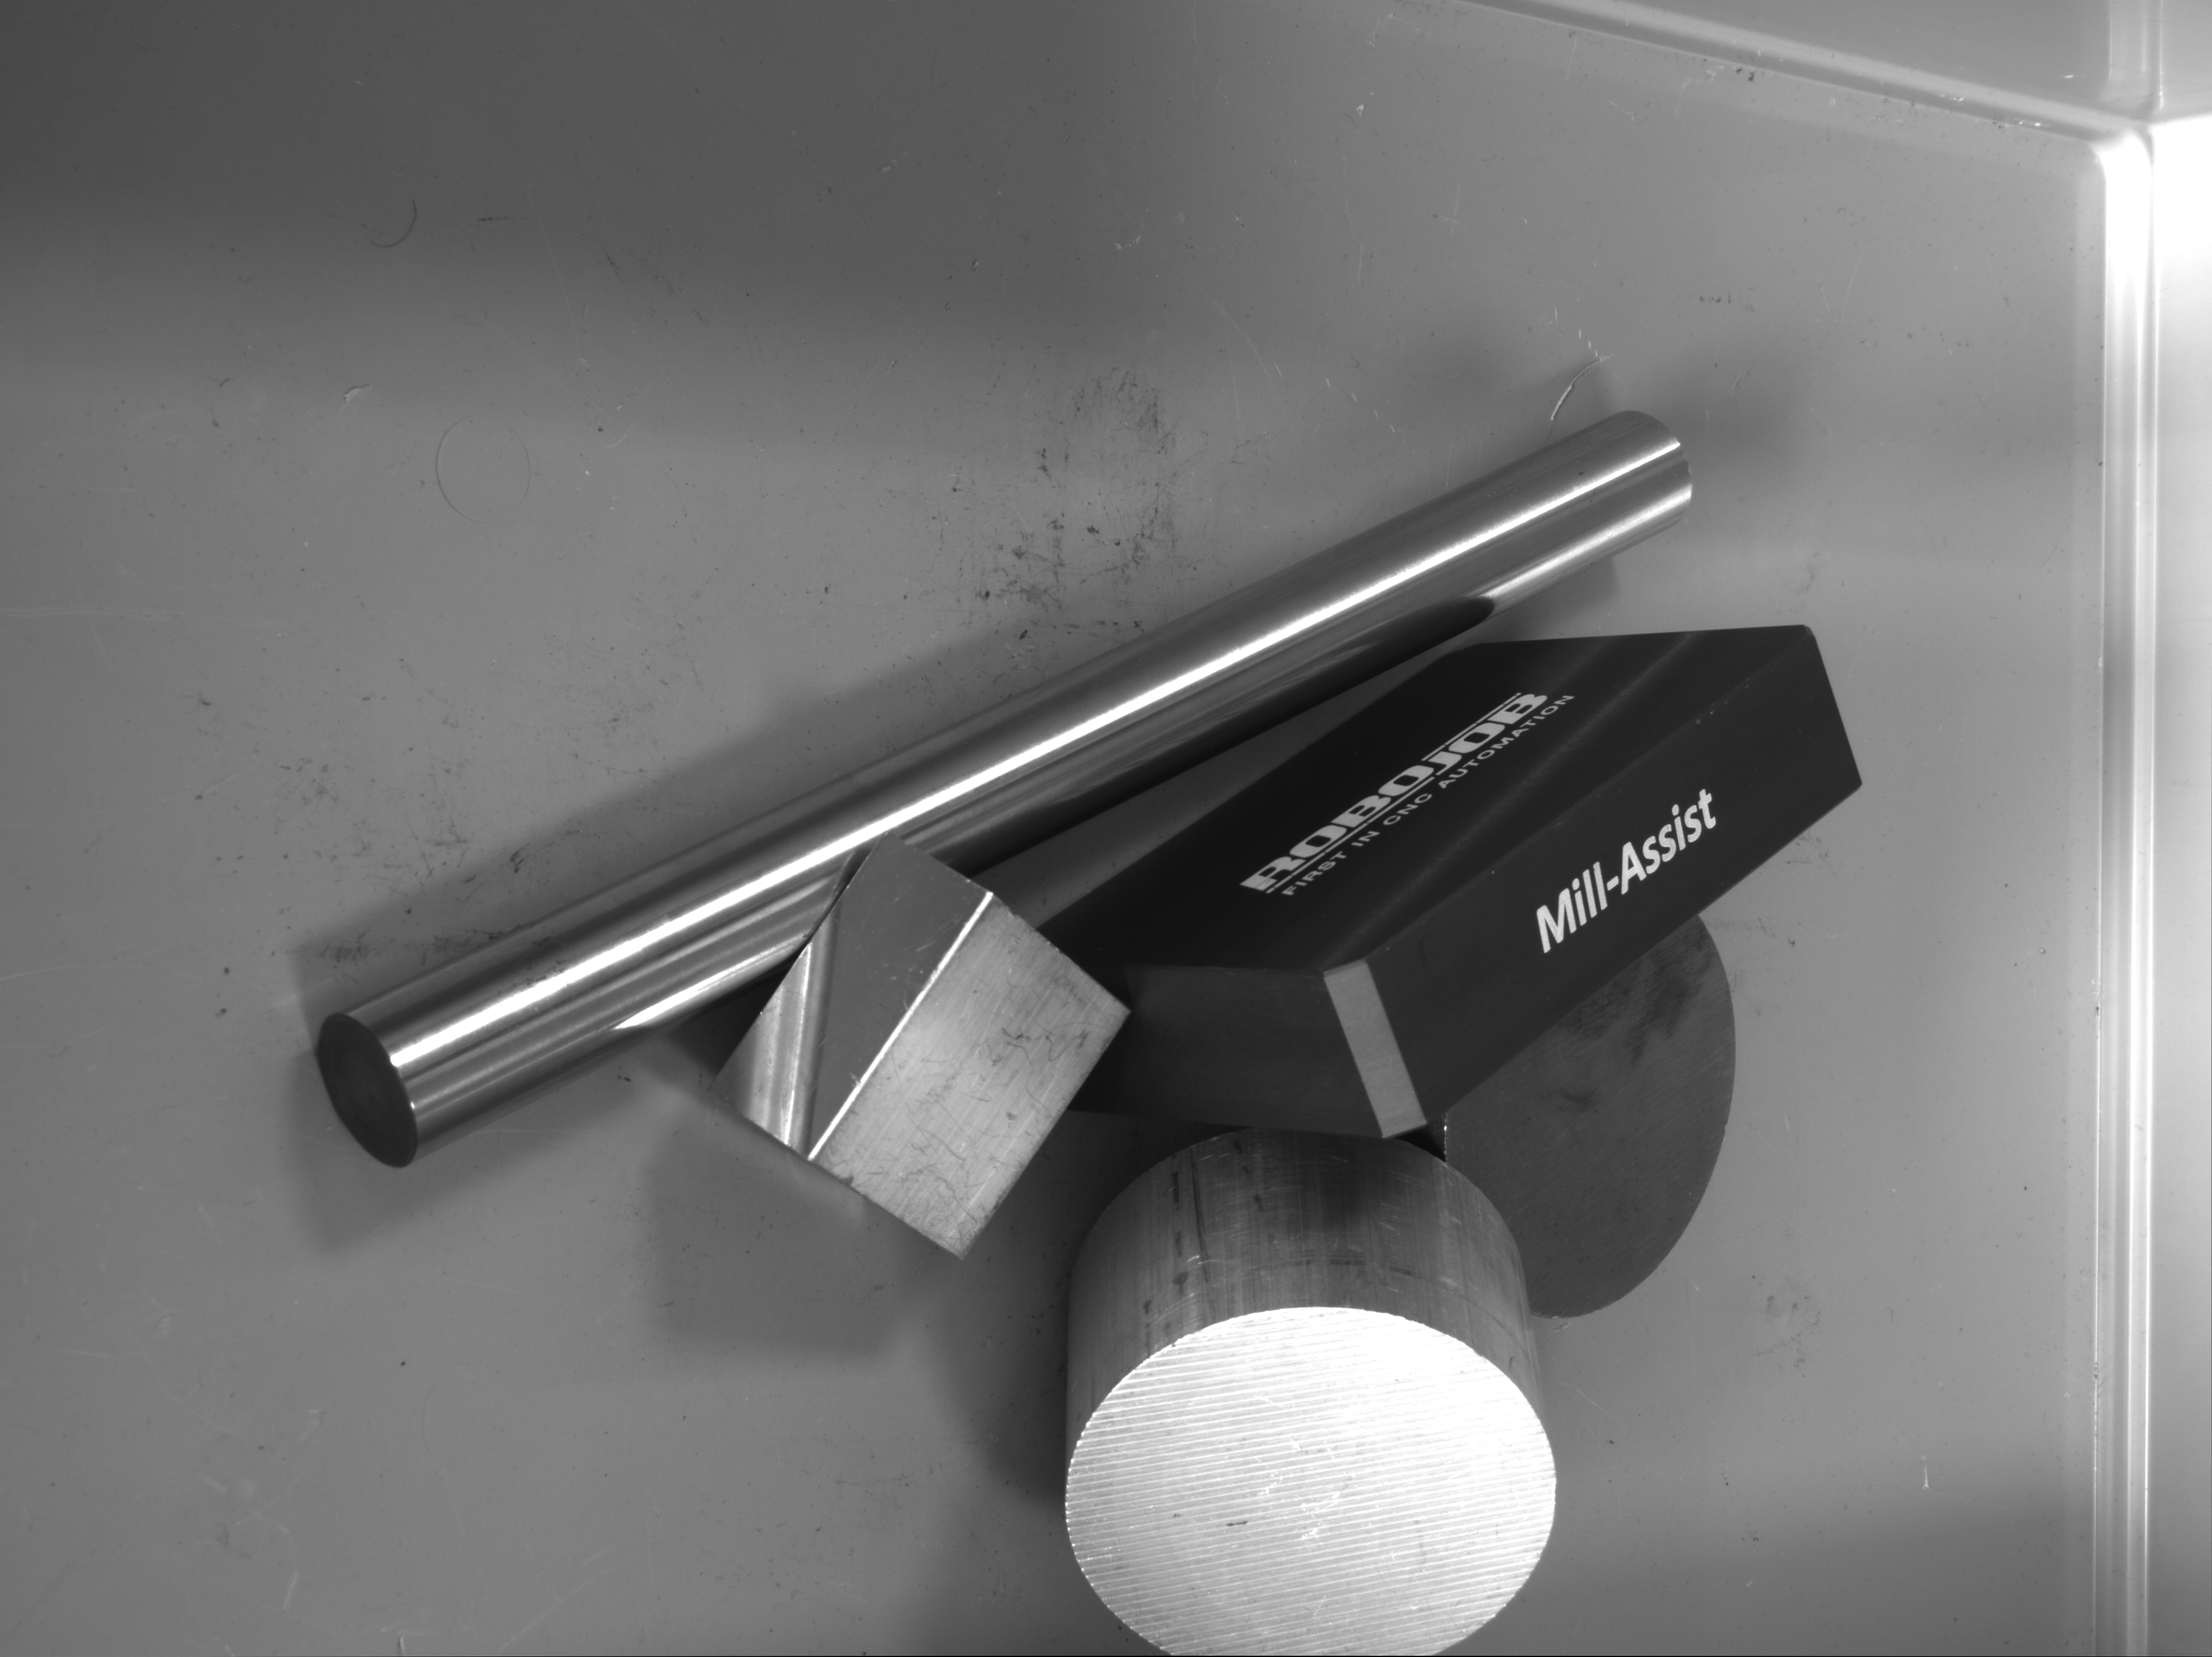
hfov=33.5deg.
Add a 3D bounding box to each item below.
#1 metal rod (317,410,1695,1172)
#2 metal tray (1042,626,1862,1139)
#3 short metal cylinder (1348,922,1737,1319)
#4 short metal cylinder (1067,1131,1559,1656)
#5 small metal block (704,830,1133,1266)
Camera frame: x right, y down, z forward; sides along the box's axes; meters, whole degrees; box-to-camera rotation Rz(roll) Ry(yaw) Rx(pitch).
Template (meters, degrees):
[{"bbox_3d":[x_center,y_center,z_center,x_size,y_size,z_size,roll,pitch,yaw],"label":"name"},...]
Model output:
[{"bbox_3d":[-0.002,-0.015,0.633,0.301,0.025,0.025,-27,107,-36],"label":"metal rod"},{"bbox_3d":[0.058,0.007,0.641,0.130,0.090,0.030,-33,110,-35],"label":"metal tray"},{"bbox_3d":[0.070,0.044,0.670,0.080,0.050,0.080,-10,105,-42],"label":"short metal cylinder"},{"bbox_3d":[0.034,0.097,0.618,0.080,0.080,0.050,55,17,-26],"label":"short metal cylinder"},{"bbox_3d":[-0.029,0.036,0.594,0.050,0.025,0.050,-56,143,-7],"label":"small metal block"}]
